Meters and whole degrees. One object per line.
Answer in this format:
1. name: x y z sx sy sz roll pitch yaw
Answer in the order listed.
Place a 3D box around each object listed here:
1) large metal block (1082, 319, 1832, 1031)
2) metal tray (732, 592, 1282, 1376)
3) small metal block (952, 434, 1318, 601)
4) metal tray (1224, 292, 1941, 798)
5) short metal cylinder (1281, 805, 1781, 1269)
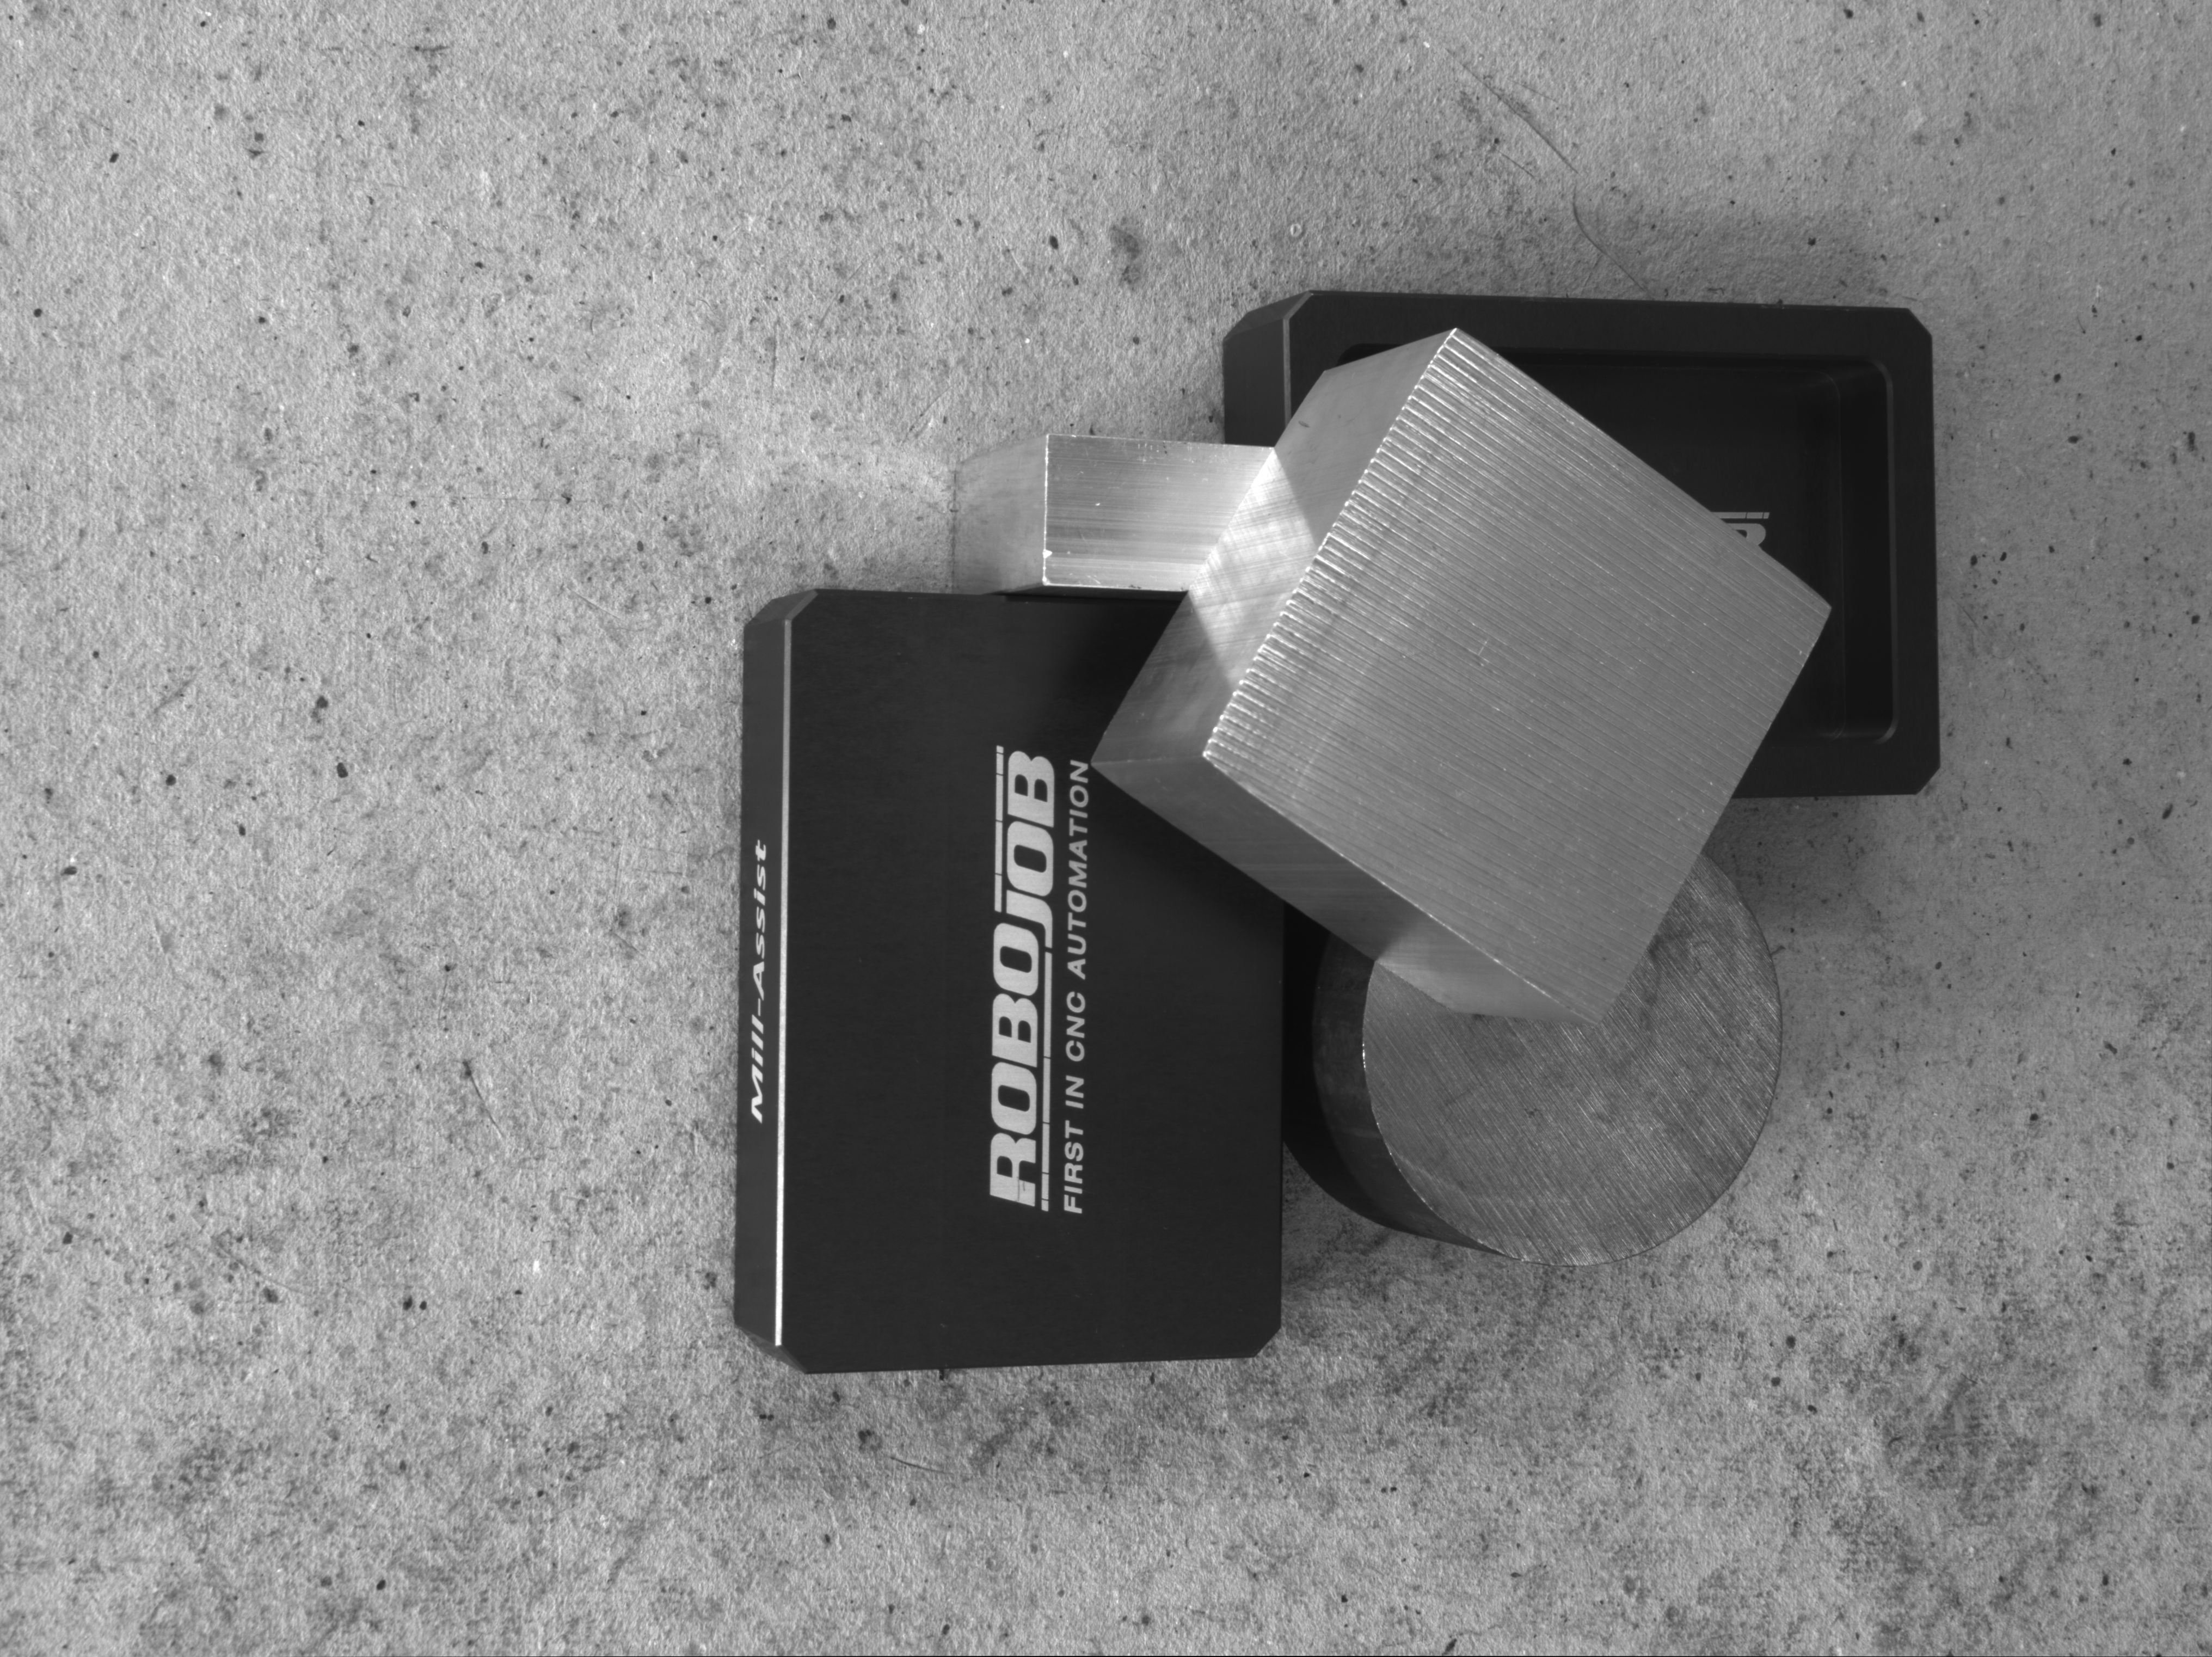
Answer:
1. large metal block: 0.057 -0.024 0.596 0.080 0.050 0.080 34 79 -17
2. metal tray: -0.017 0.026 0.636 0.090 0.030 0.130 1 90 -20
3. small metal block: 0.005 -0.052 0.632 0.050 0.050 0.025 1 90 -20
4. metal tray: 0.088 -0.050 0.673 0.130 0.030 0.090 -2 91 -20
5. short metal cylinder: 0.073 0.036 0.656 0.080 0.050 0.080 0 90 -19
